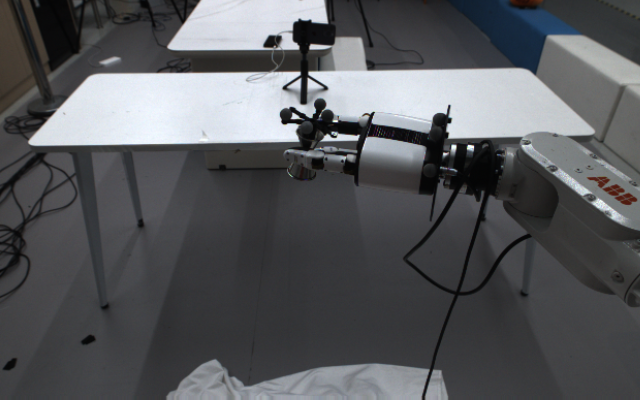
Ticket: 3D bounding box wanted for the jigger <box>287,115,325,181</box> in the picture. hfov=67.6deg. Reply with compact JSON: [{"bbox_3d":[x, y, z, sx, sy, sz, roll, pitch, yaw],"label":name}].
[{"bbox_3d":[-0.021,-0.068,0.699,0.043,0.071,0.043,10,36,-7],"label":"jigger"}]
